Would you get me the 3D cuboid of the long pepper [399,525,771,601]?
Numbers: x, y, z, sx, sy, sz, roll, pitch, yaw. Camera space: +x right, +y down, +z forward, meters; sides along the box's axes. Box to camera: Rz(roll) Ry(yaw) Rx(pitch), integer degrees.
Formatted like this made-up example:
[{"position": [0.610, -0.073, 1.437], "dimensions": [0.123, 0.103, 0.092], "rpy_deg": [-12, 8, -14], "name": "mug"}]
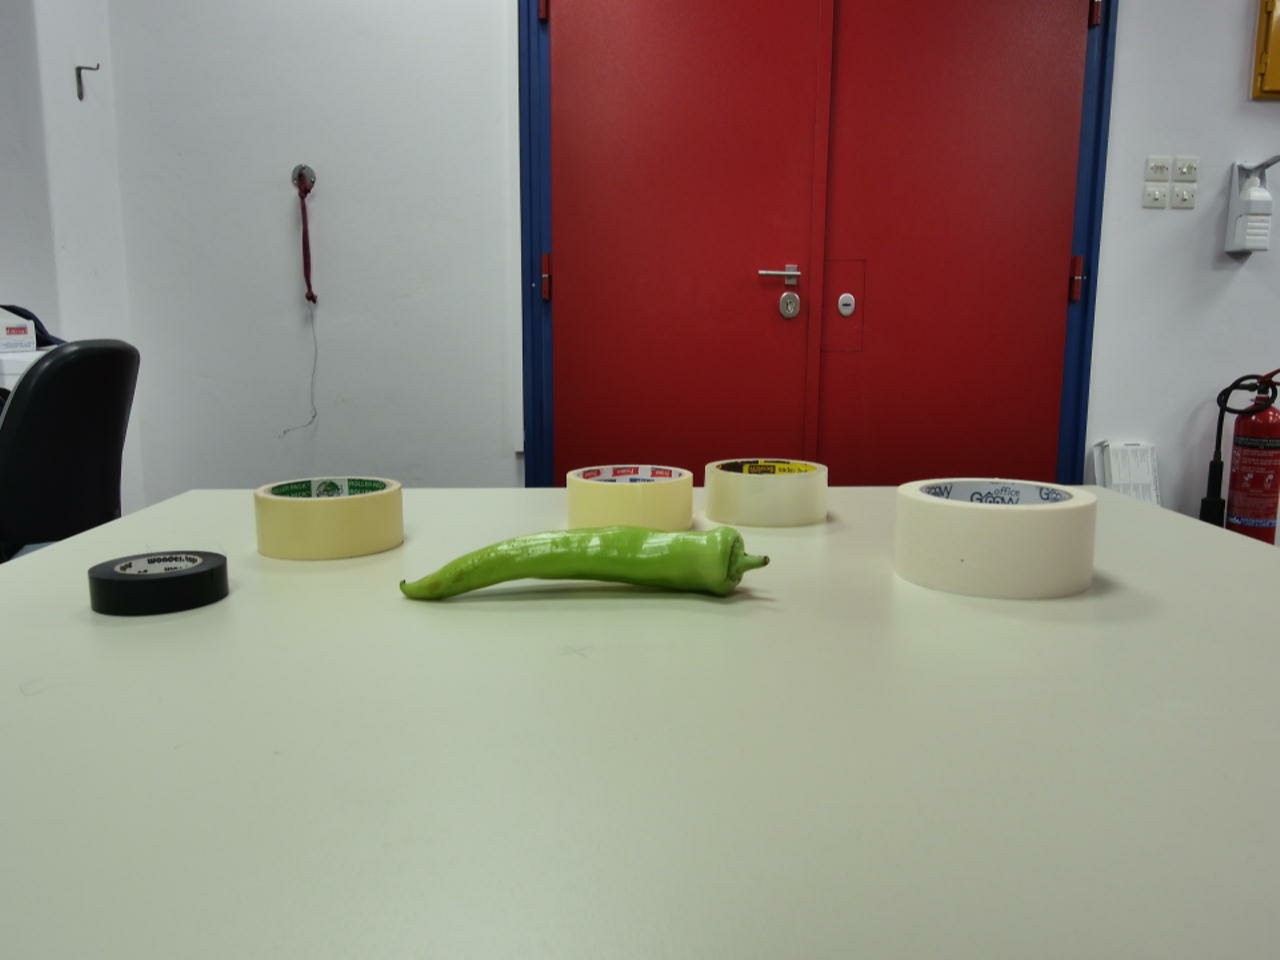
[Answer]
[{"position": [-0.029, 0.043, 0.538], "dimensions": [0.197, 0.038, 0.046], "rpy_deg": [0, 6, 2], "name": "long pepper"}]
